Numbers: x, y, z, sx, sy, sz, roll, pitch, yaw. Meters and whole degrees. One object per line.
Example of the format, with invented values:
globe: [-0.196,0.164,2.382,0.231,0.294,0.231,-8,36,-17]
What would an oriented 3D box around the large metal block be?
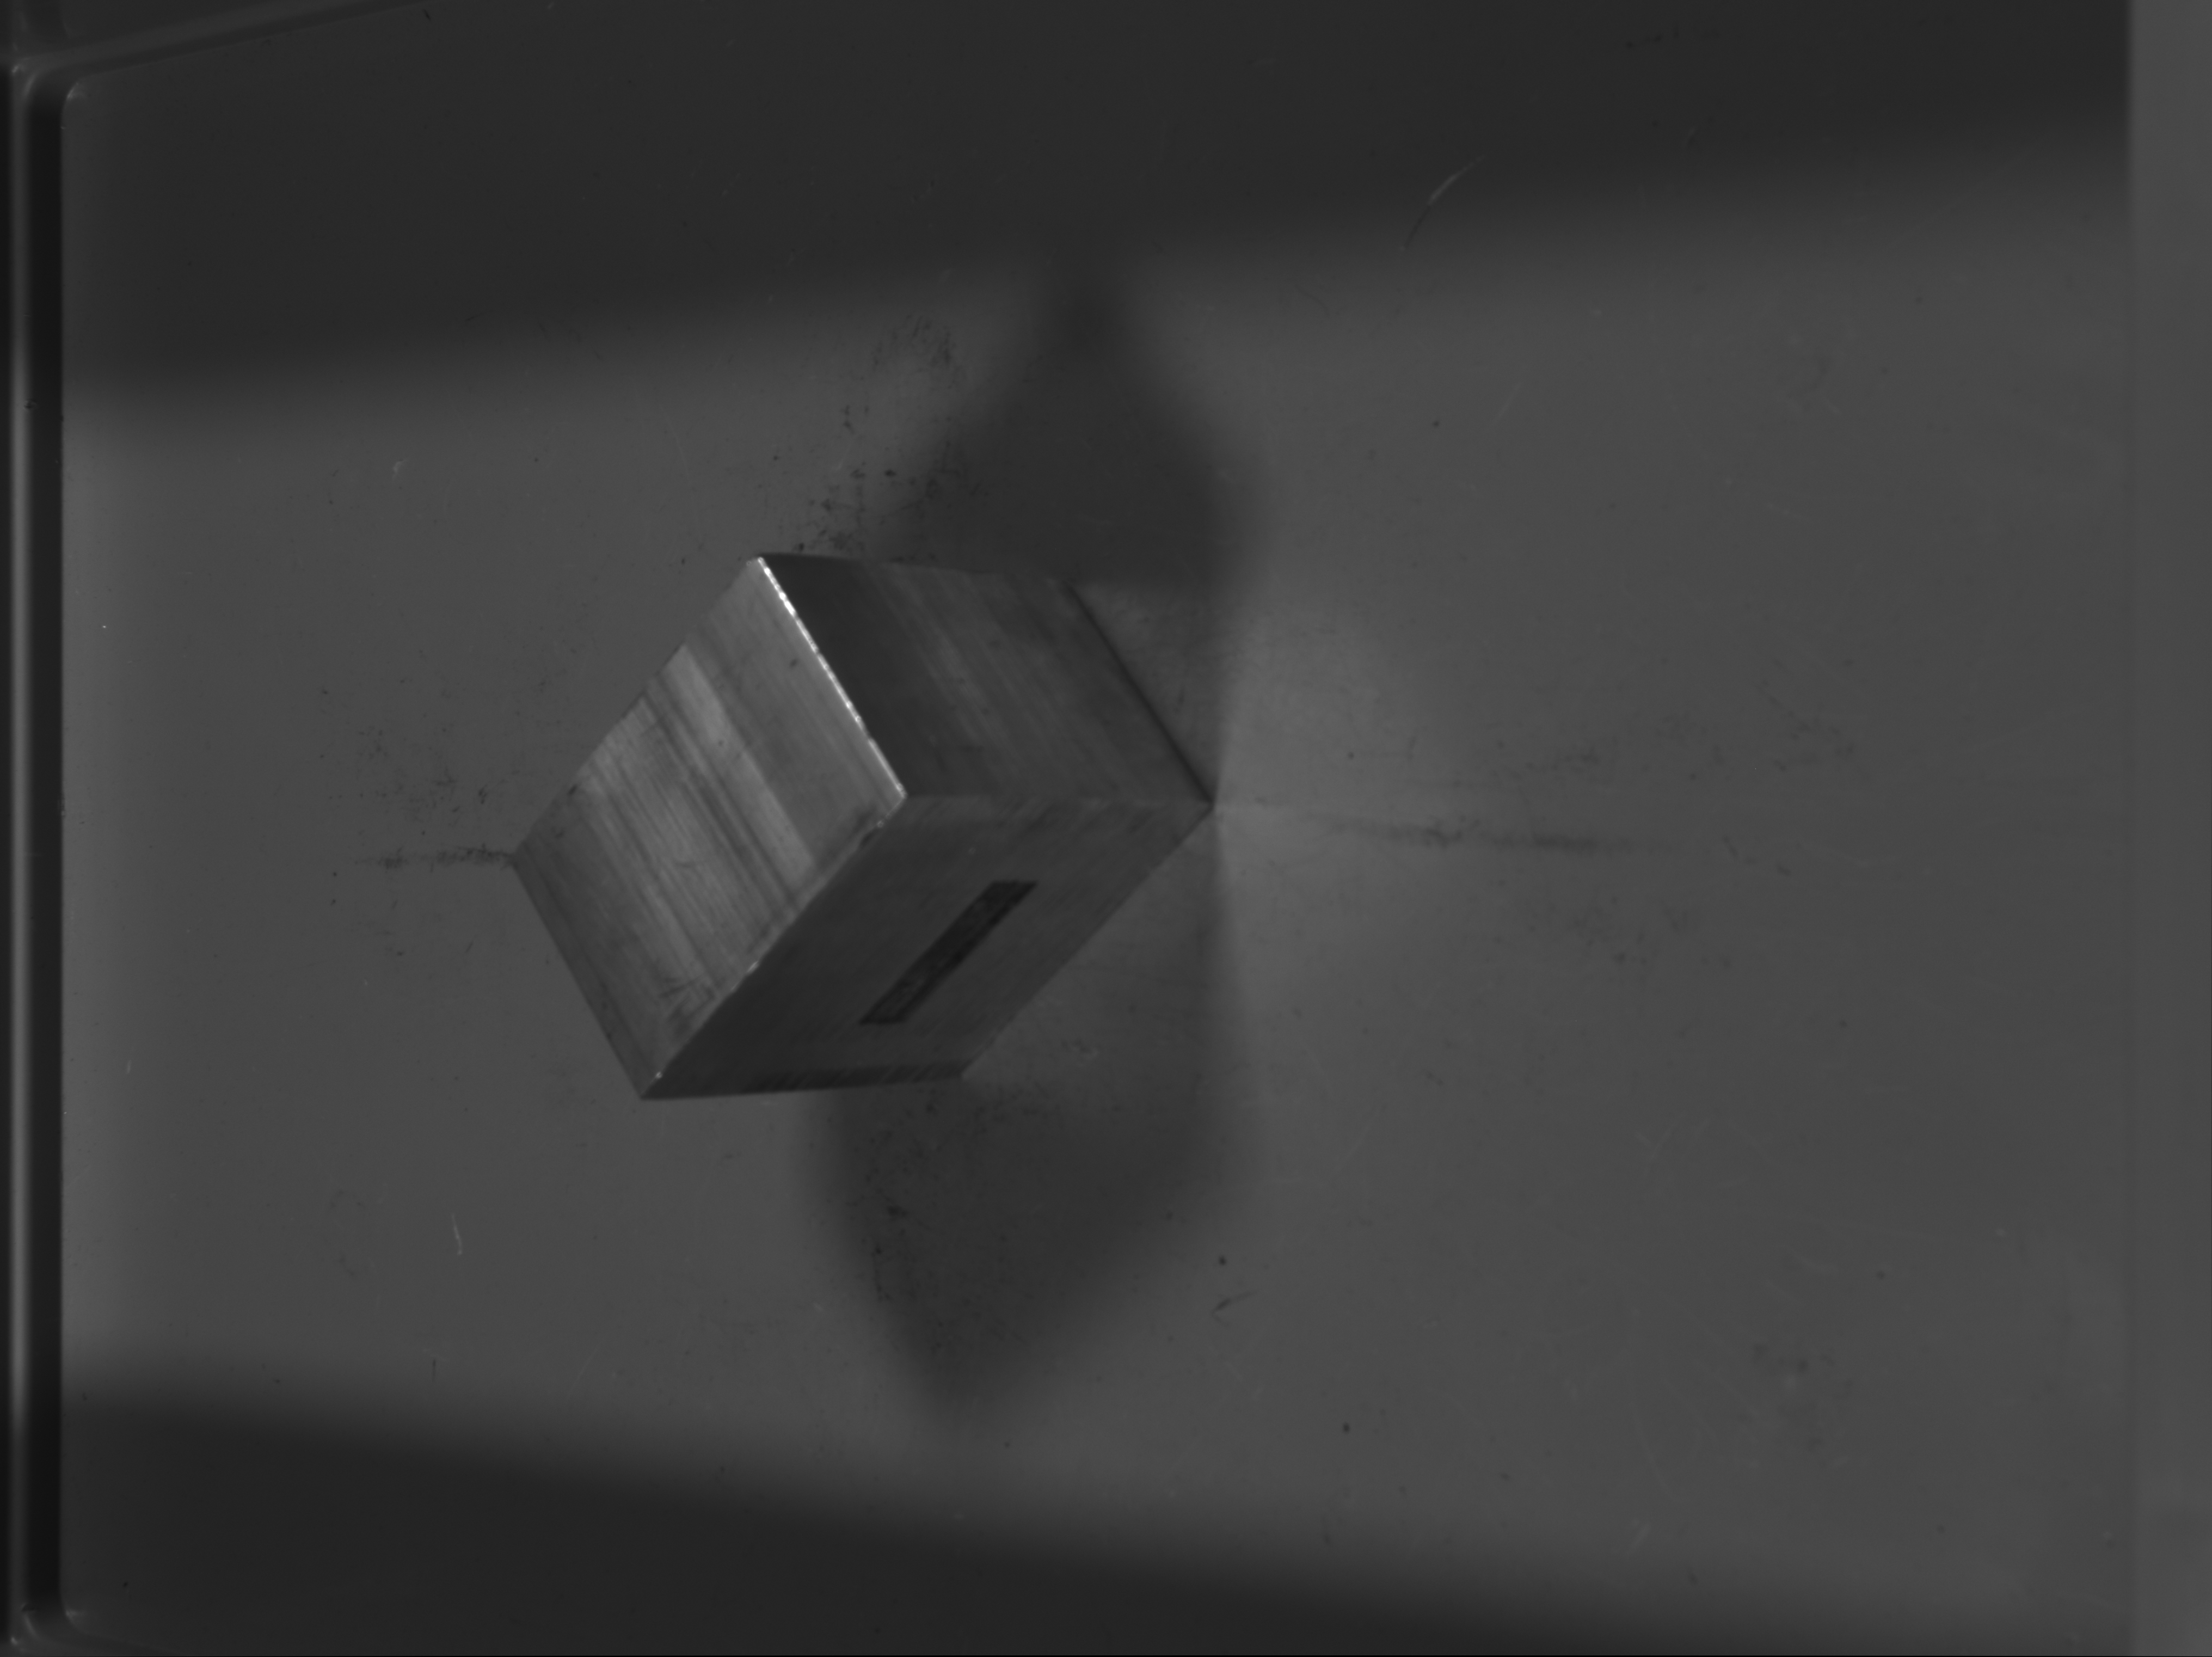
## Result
large metal block: [-0.047,0.001,0.636,0.080,0.080,0.050,-47,62,29]
